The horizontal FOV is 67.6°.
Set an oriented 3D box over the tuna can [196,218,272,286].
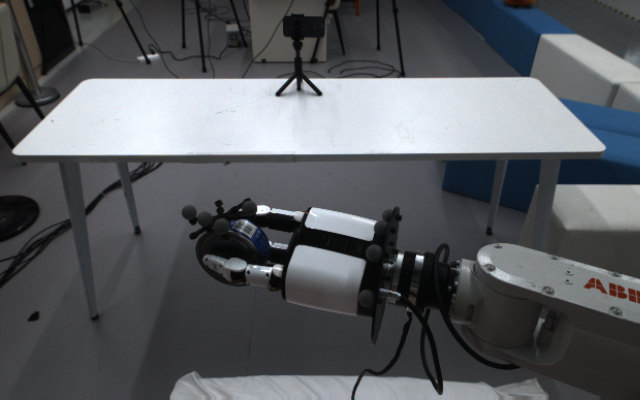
[{"bbox_3d":[-0.101,0.067,0.584,0.085,0.085,0.034,10,33,11],"label":"tuna can"}]
